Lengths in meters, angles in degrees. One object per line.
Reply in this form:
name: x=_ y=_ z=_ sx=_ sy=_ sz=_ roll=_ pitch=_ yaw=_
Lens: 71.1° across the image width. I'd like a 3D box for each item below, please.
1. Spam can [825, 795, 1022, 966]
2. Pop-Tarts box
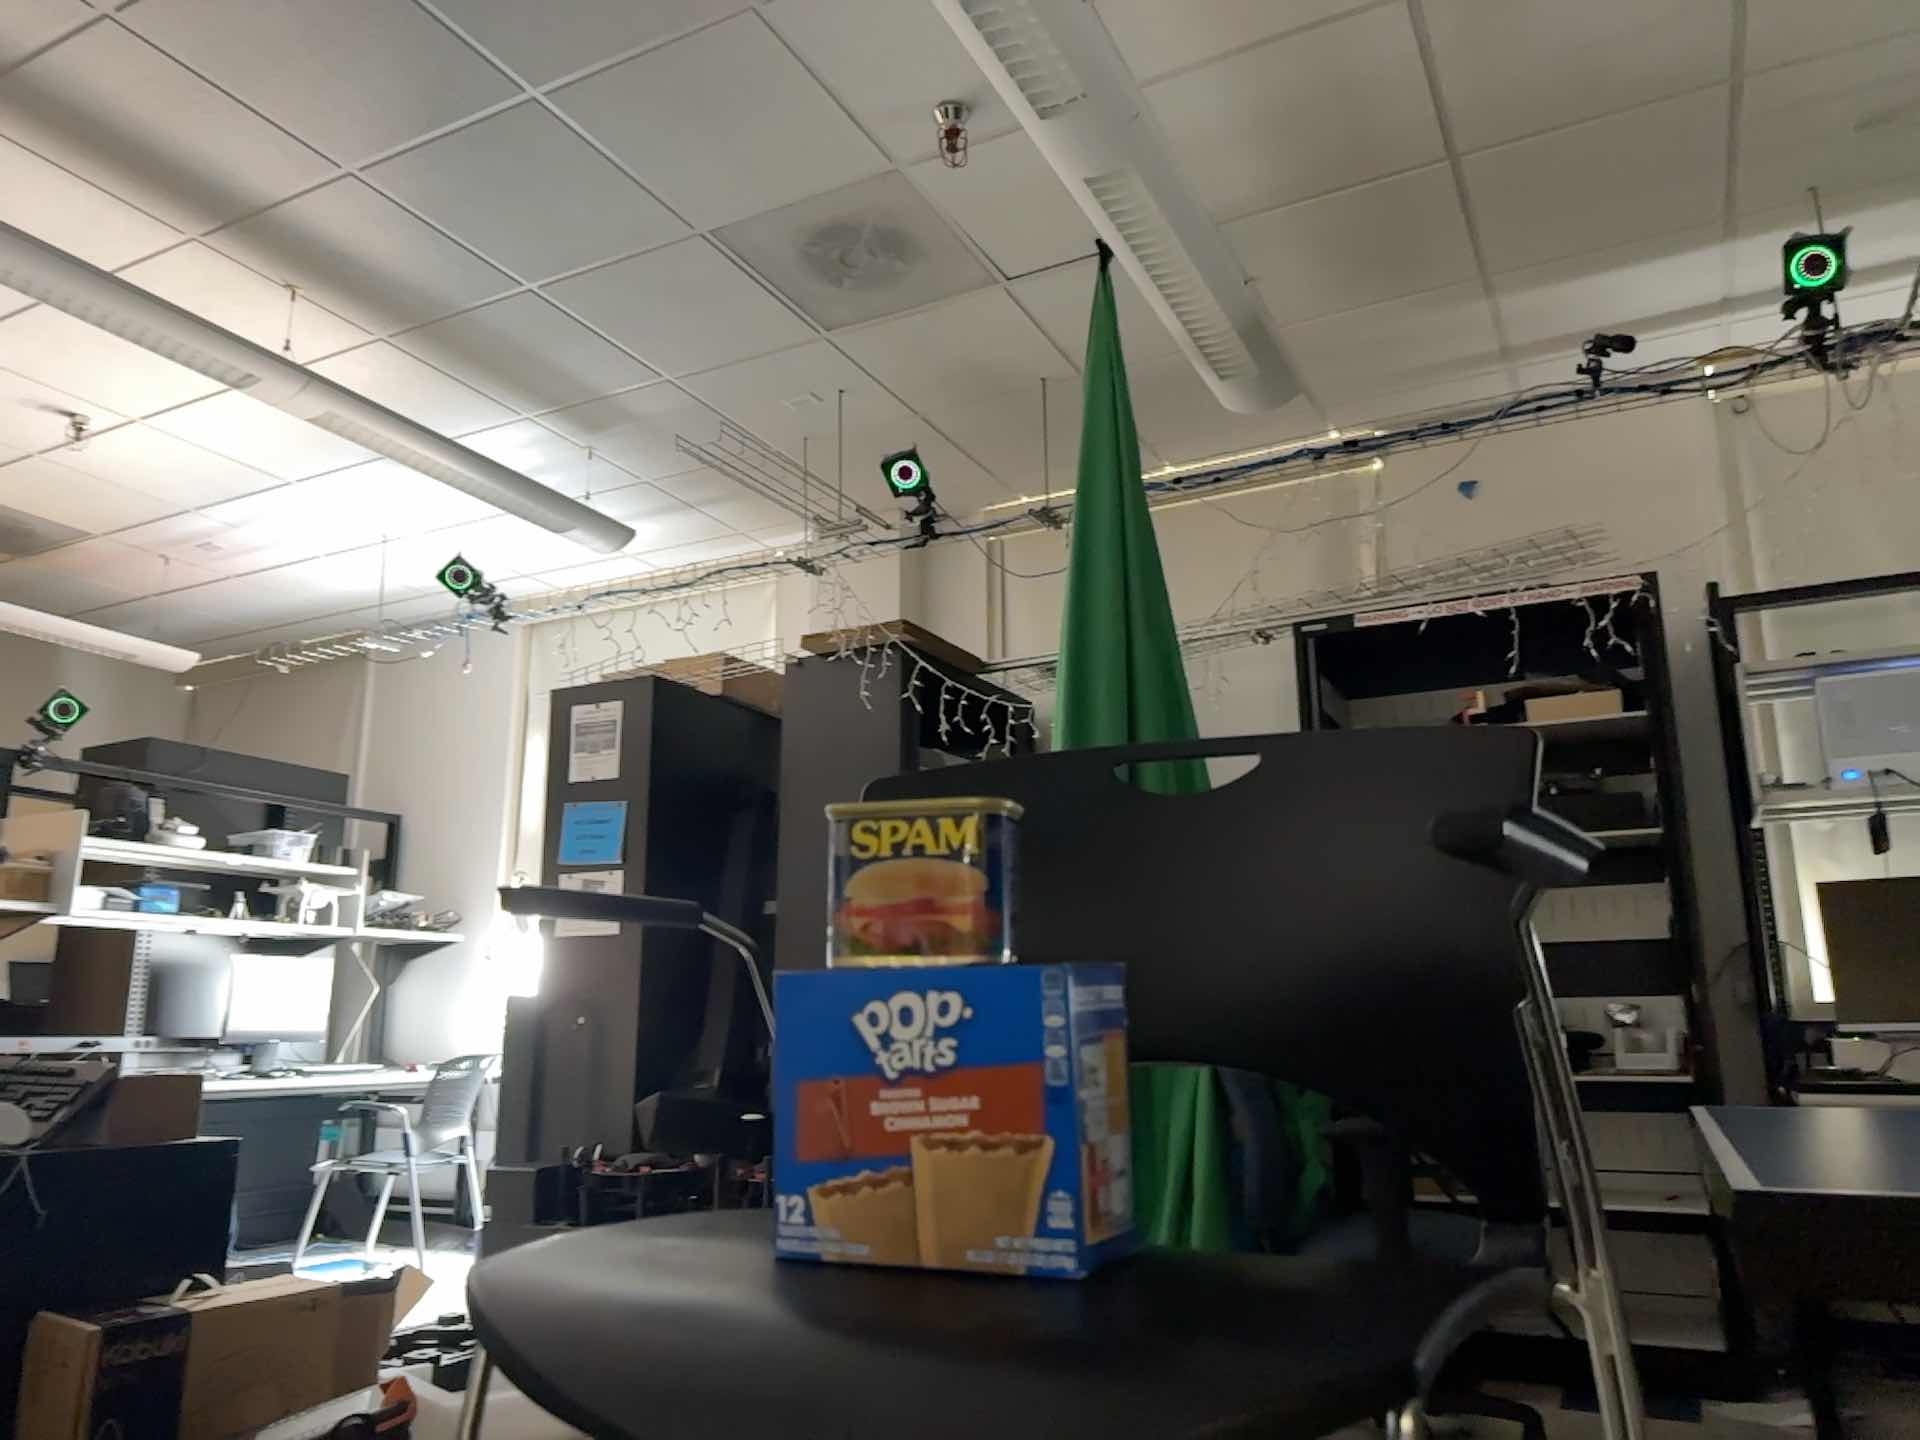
Spam can: x=-0.020 y=0.085 z=0.703 sx=0.100 sy=0.083 sz=0.056 roll=-4 pitch=-10 yaw=21
Pop-Tarts box: x=-0.006 y=0.198 z=0.684 sx=0.161 sy=0.135 sz=0.075 roll=-6 pitch=-11 yaw=24
